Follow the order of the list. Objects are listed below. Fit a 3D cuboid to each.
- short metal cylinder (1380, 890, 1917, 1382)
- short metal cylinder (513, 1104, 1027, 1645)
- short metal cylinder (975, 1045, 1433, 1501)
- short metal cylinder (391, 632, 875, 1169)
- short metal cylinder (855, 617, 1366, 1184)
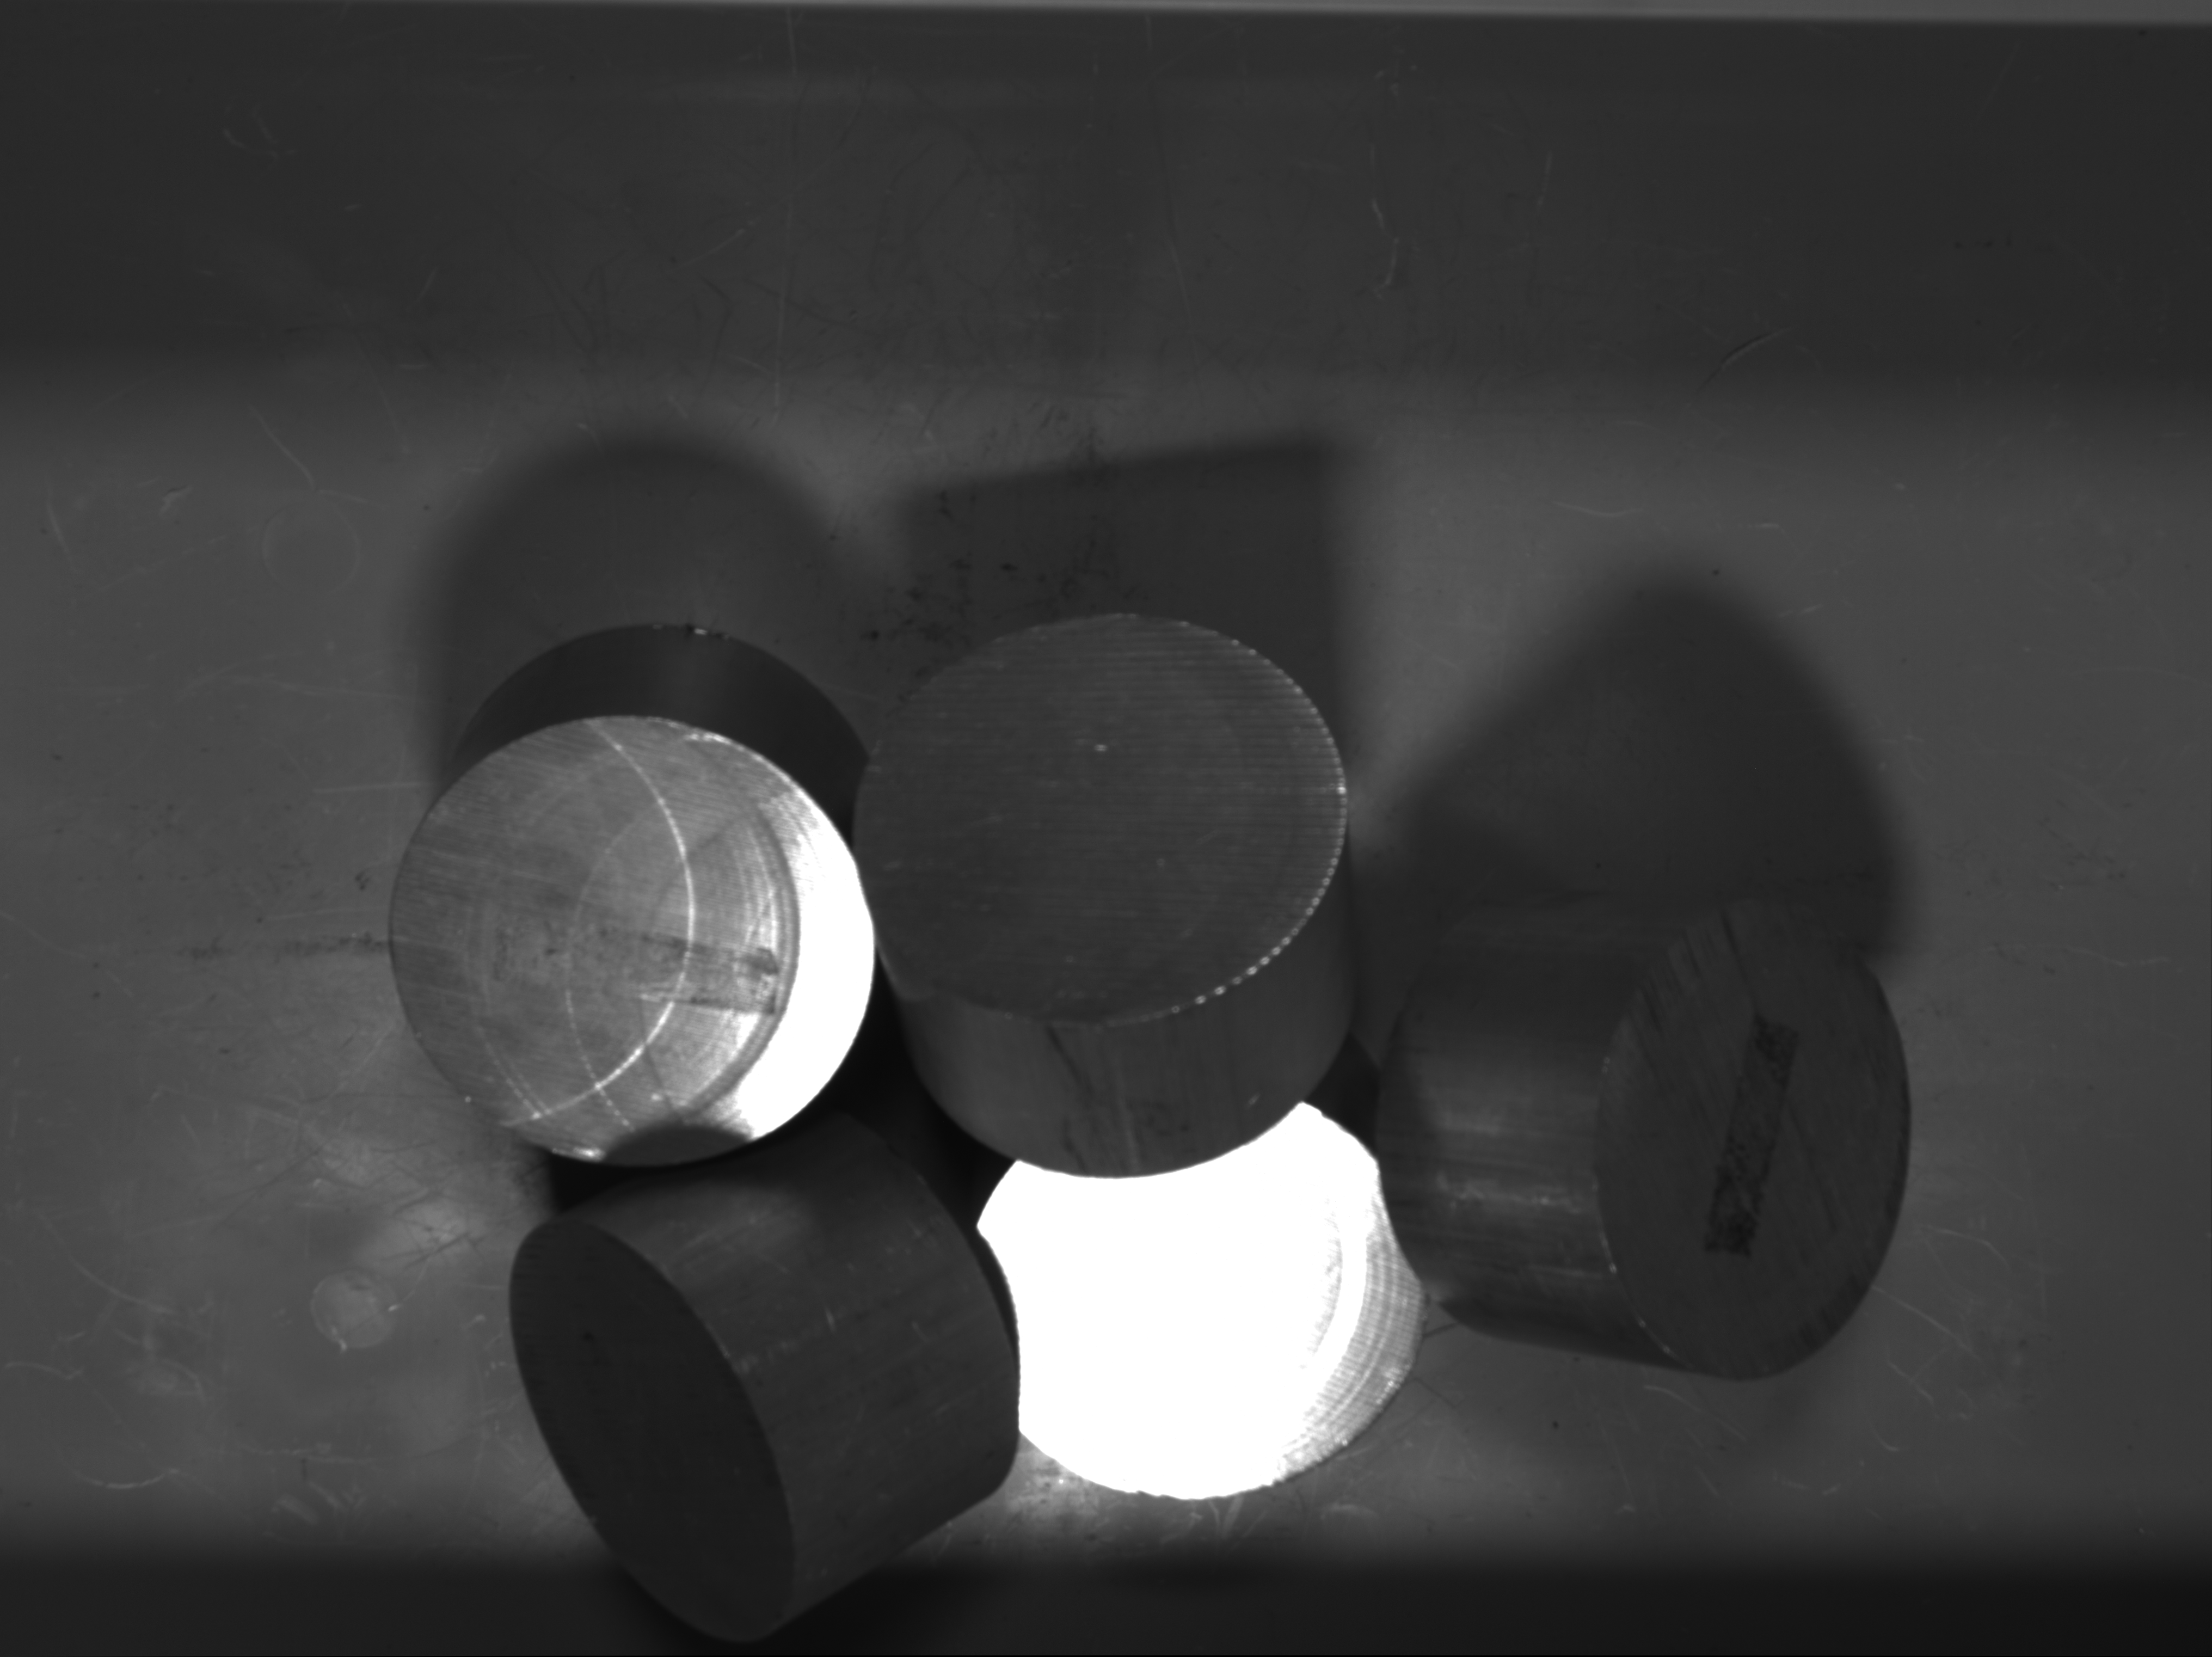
[{"bbox_3d":[0.093,0.051,0.627,0.080,0.050,0.080,-1,92,-39],"label":"short metal cylinder"},{"bbox_3d":[-0.059,0.094,0.639,0.050,0.080,0.080,-27,115,-36],"label":"short metal cylinder"},{"bbox_3d":[0.016,0.072,0.655,0.080,0.050,0.080,0,110,-1],"label":"short metal cylinder"},{"bbox_3d":[-0.079,0.012,0.631,0.080,0.050,0.080,0,110,-1],"label":"short metal cylinder"},{"bbox_3d":[0.002,0.012,0.609,0.080,0.080,0.050,-8,145,2],"label":"short metal cylinder"}]
